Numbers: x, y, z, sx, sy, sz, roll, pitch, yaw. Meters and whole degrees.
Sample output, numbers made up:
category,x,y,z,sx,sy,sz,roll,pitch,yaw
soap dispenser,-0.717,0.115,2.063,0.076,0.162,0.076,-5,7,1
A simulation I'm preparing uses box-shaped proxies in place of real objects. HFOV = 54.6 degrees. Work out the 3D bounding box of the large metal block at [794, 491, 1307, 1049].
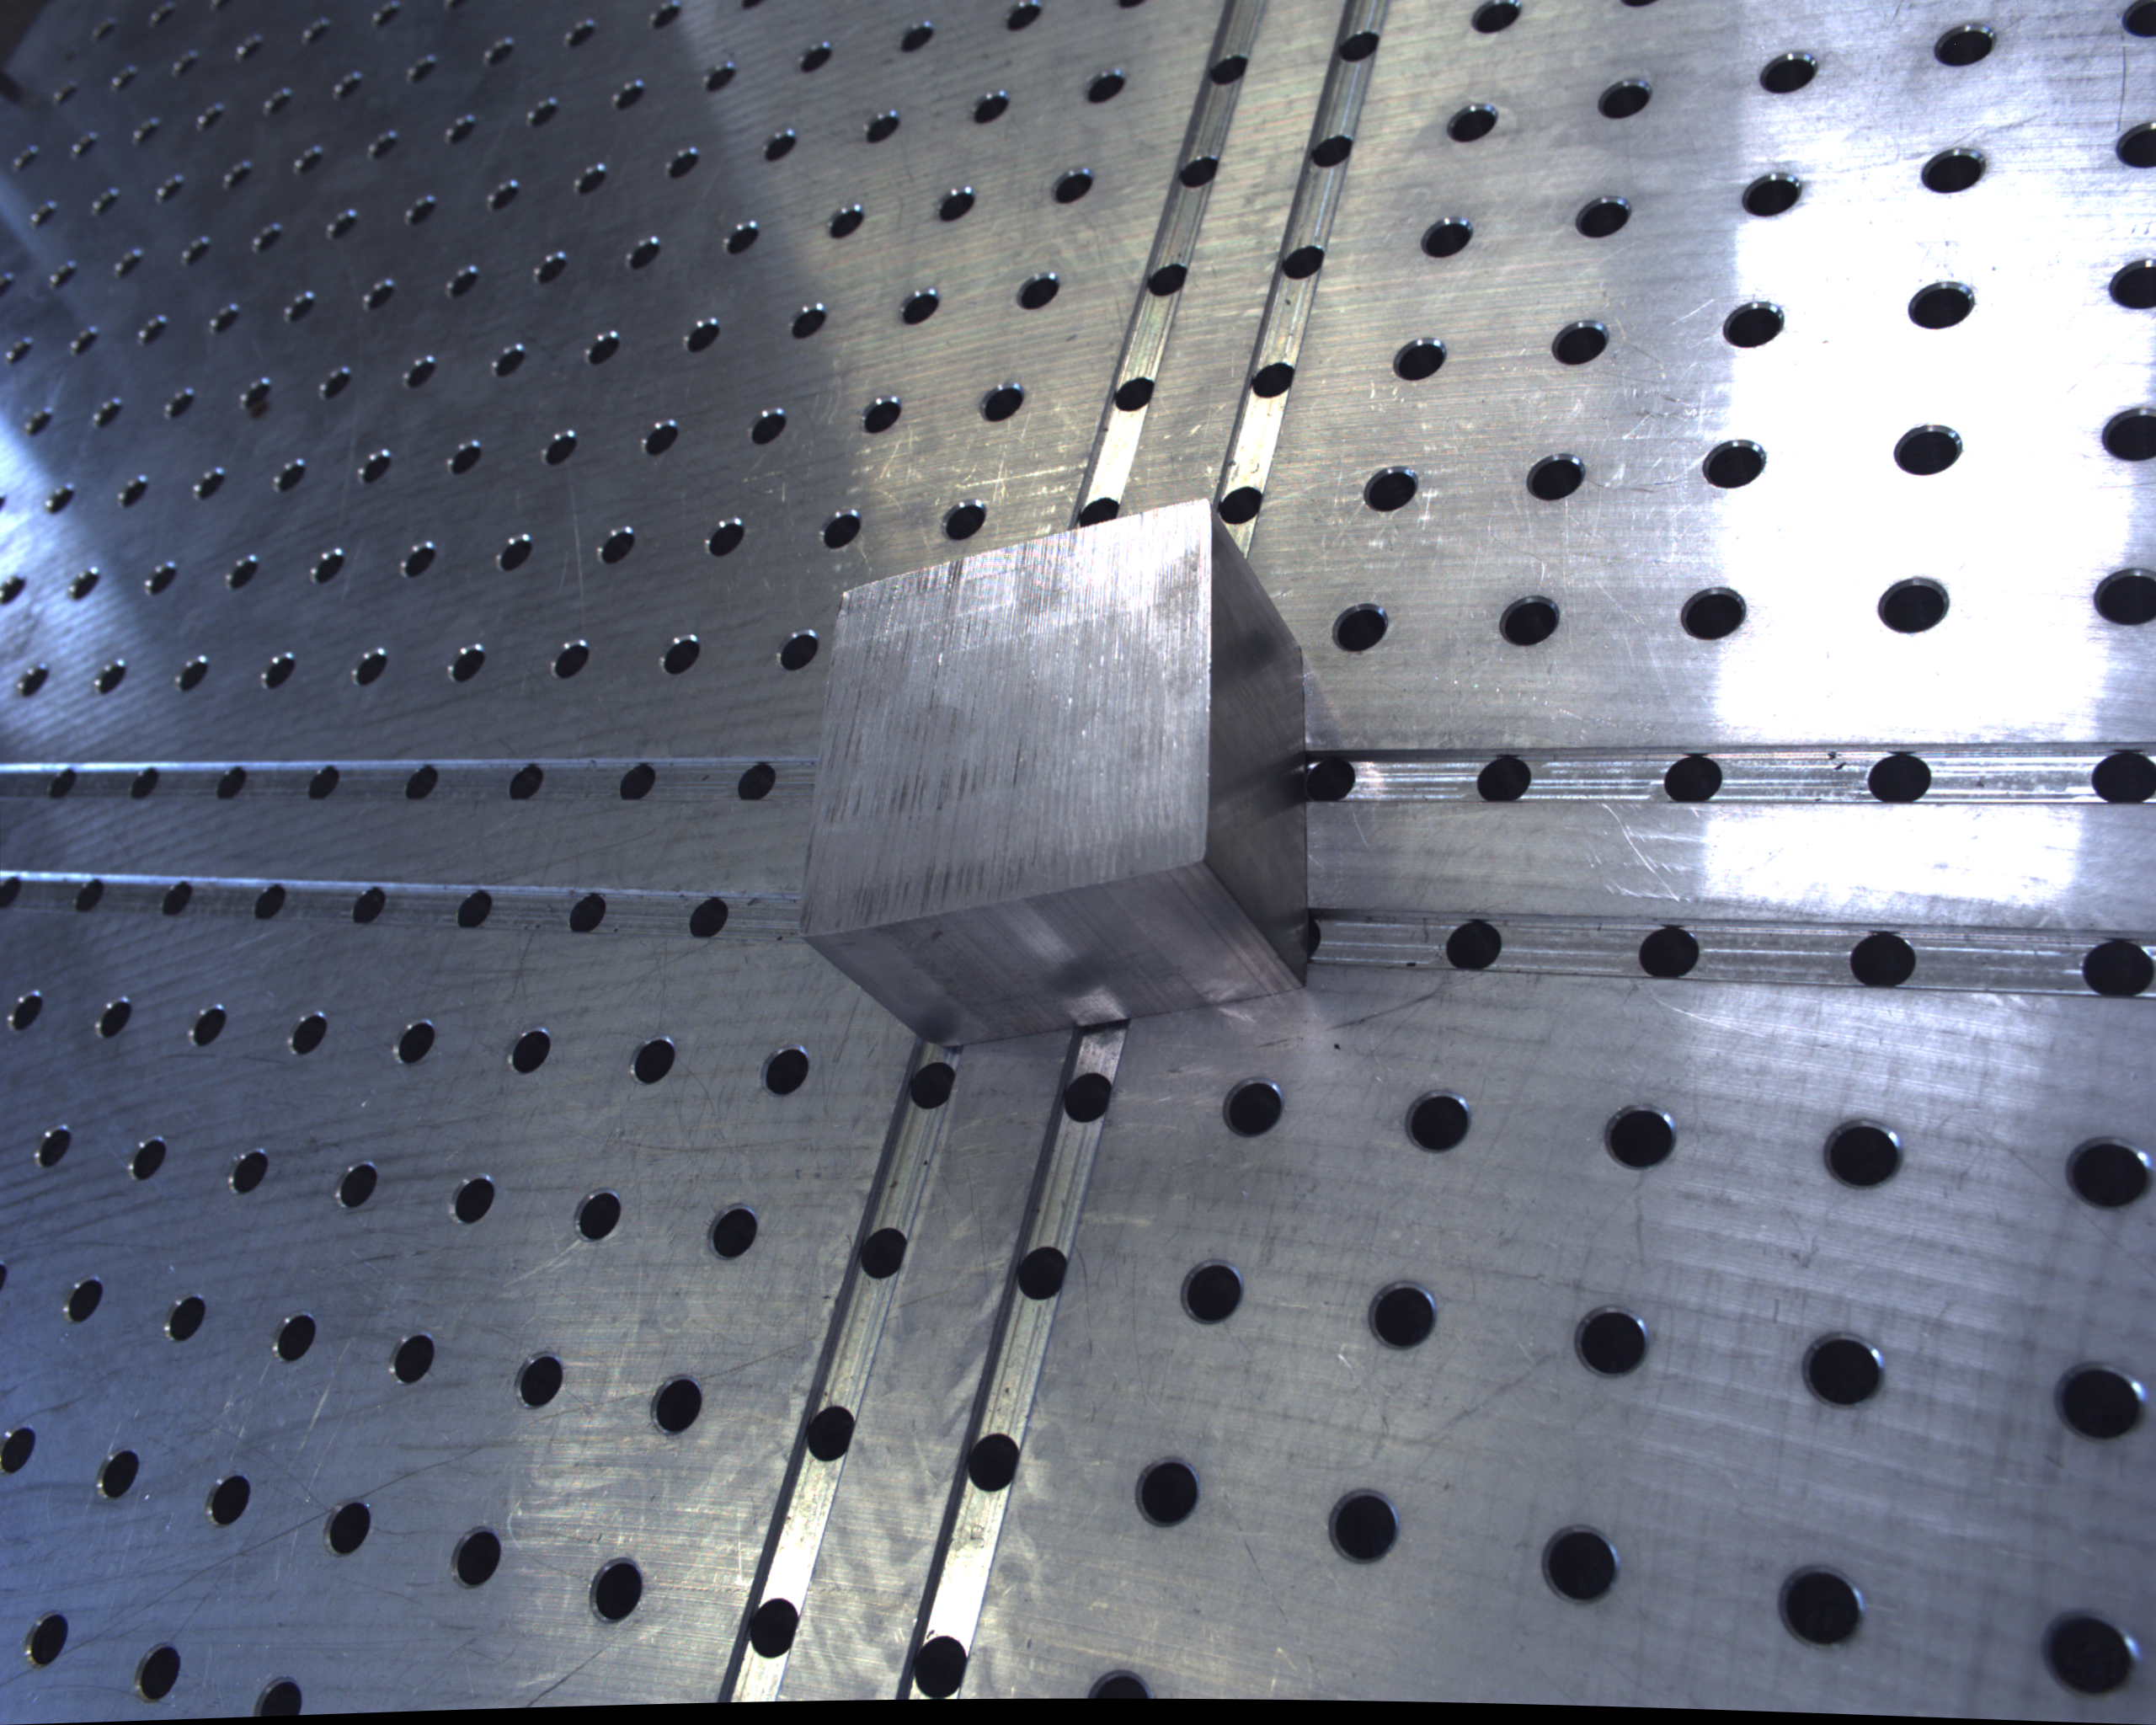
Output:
category,x,y,z,sx,sy,sz,roll,pitch,yaw
large metal block,-0.003,-0.016,0.403,0.080,0.050,0.080,-11,57,22
